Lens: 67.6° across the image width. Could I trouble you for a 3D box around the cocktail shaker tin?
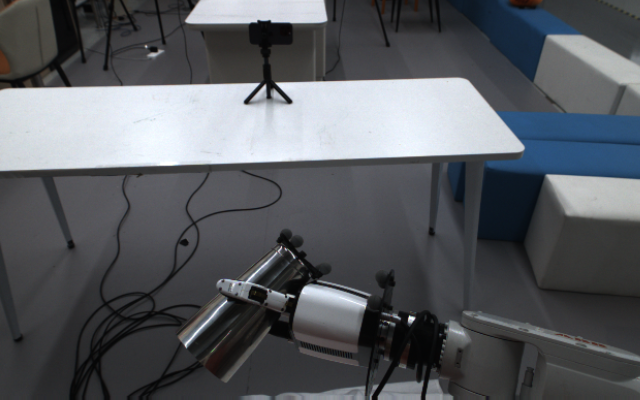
[{"bbox_3d":[-0.092,0.136,0.634,0.170,0.093,0.093,-43,50,-14],"label":"cocktail shaker tin"}]
